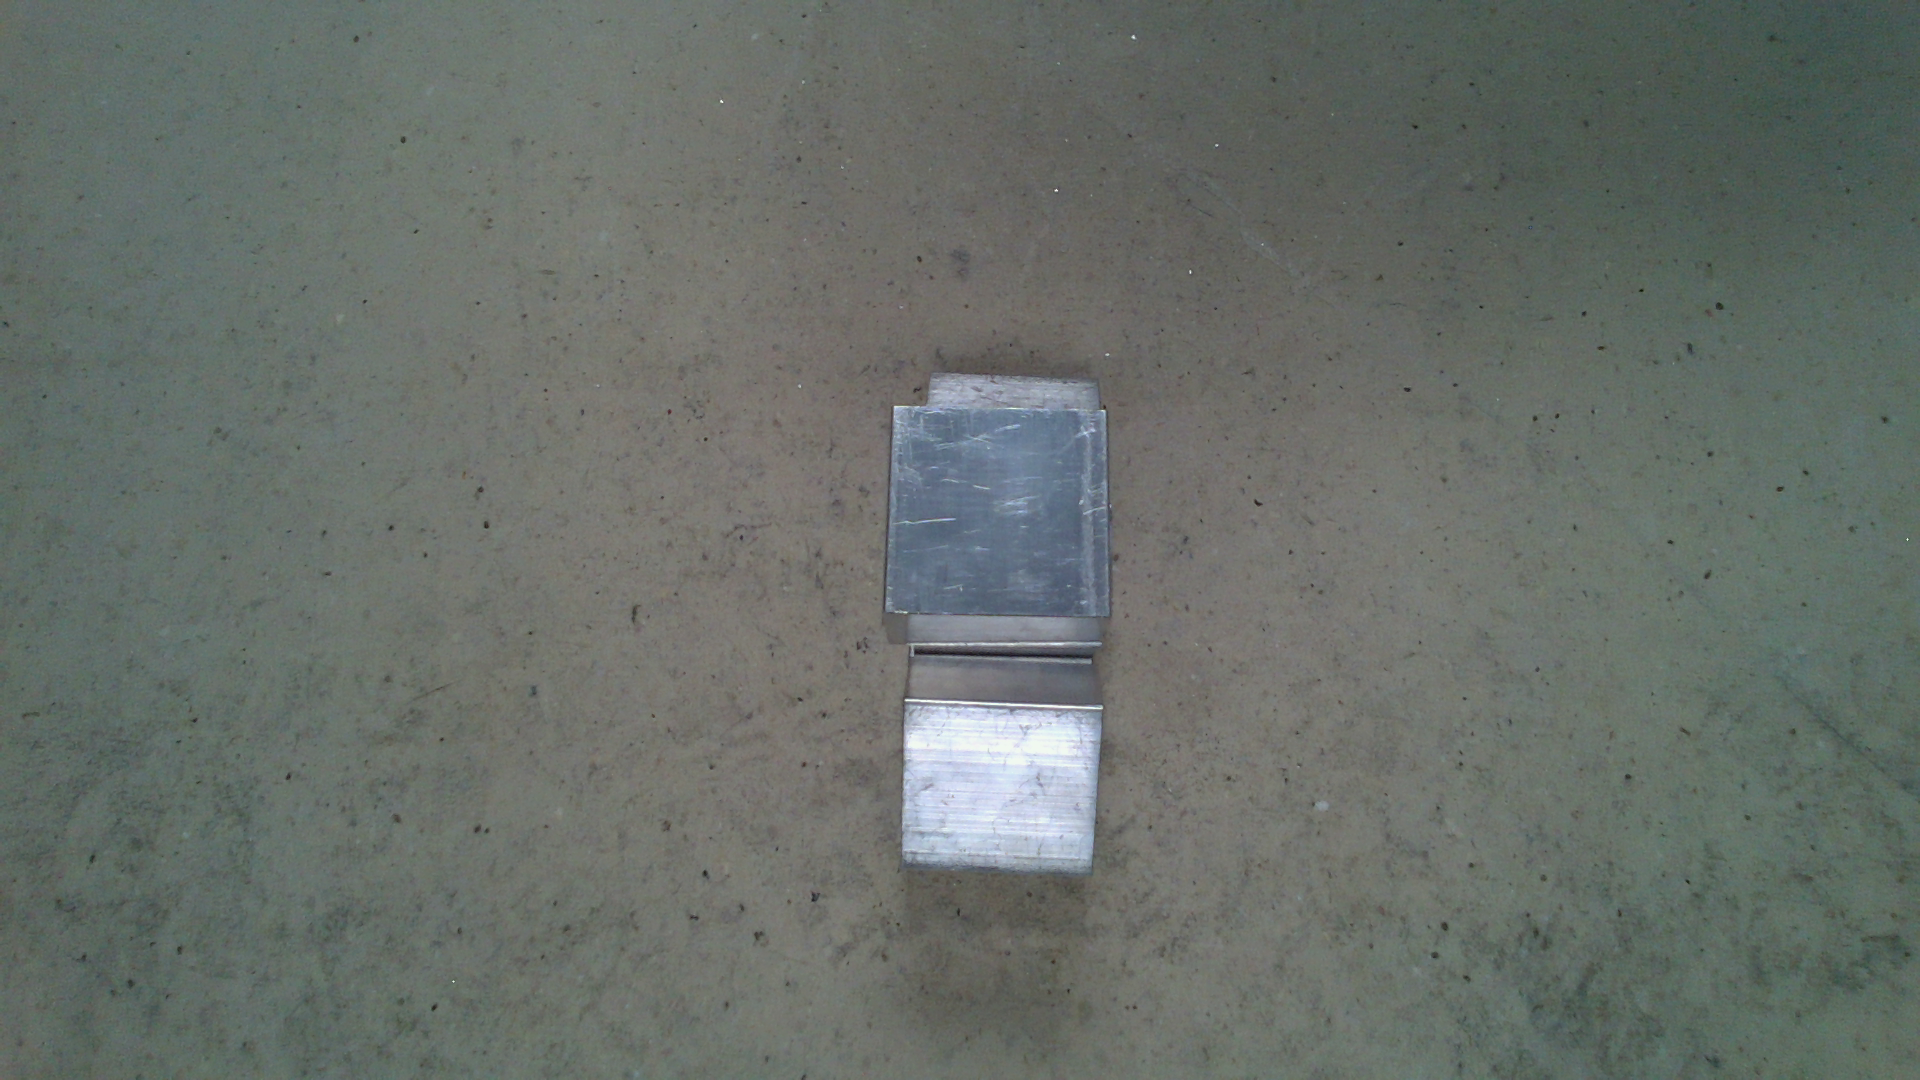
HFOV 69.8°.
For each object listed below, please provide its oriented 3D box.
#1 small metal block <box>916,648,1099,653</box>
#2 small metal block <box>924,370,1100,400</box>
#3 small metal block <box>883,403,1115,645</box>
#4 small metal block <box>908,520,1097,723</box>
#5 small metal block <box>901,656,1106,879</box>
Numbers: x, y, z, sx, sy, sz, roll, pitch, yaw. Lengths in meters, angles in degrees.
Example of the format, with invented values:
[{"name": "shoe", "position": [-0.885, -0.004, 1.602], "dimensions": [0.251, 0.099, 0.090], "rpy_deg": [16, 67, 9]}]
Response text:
[{"name": "small metal block", "position": [0.012, 0.011, 0.350], "dimensions": [0.050, 0.050, 0.025], "rpy_deg": [2, 70, 1]}, {"name": "small metal block", "position": [0.014, -0.025, 0.391], "dimensions": [0.050, 0.025, 0.050], "rpy_deg": [2, 34, 1]}, {"name": "small metal block", "position": [0.009, -0.003, 0.316], "dimensions": [0.050, 0.025, 0.050], "rpy_deg": [1, 70, 0]}, {"name": "small metal block", "position": [0.012, 0.023, 0.387], "dimensions": [0.050, 0.025, 0.050], "rpy_deg": [2, 70, 1]}, {"name": "small metal block", "position": [0.011, 0.059, 0.360], "dimensions": [0.050, 0.025, 0.050], "rpy_deg": [2, 110, 1]}]
